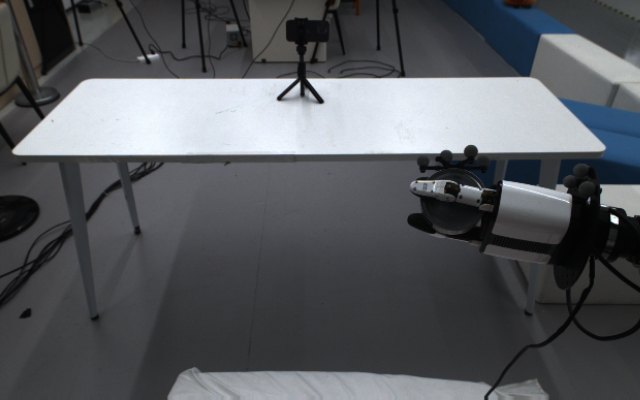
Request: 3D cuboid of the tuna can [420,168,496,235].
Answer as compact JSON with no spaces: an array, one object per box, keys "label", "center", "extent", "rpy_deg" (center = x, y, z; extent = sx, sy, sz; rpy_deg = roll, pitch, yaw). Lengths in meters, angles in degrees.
[{"label":"tuna can","center":[0.179,0.001,0.649],"extent":[0.085,0.034,0.085],"rpy_deg":[-3,73,11]}]
